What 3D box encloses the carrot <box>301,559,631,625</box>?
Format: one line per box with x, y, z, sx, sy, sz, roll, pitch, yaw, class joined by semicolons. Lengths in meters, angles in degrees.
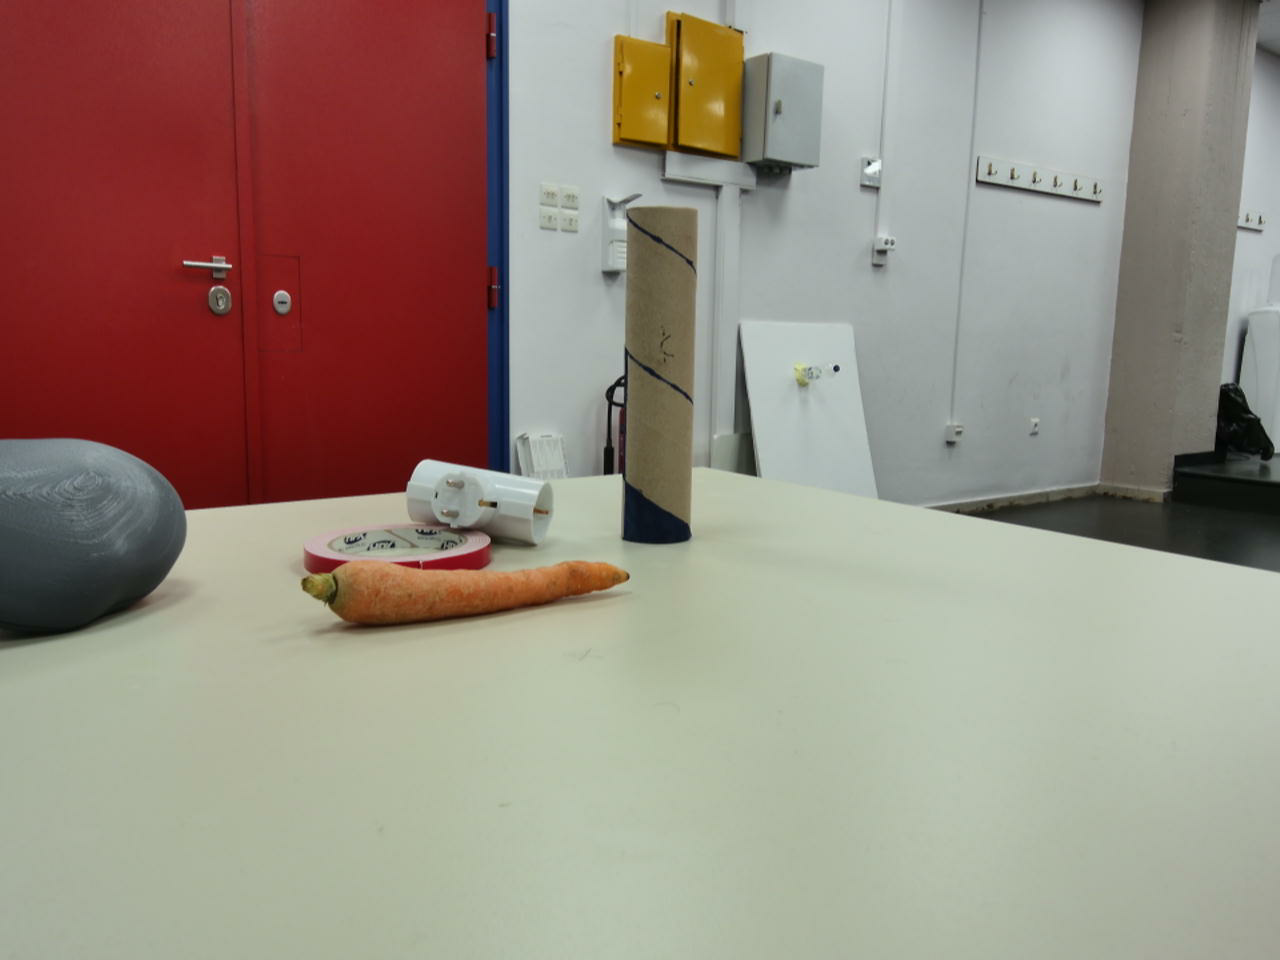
-0.081;0.051;0.501;0.173;0.032;0.030;-3;7;-28;carrot
